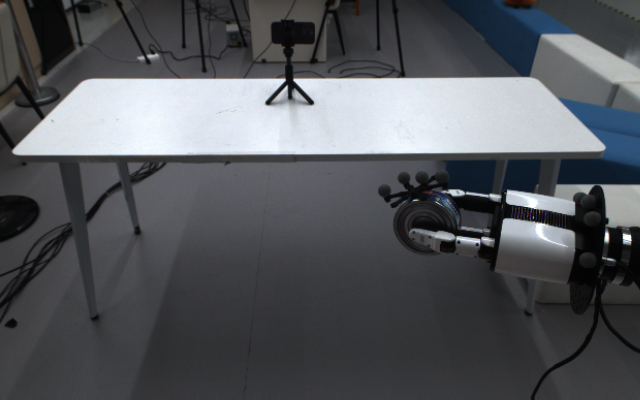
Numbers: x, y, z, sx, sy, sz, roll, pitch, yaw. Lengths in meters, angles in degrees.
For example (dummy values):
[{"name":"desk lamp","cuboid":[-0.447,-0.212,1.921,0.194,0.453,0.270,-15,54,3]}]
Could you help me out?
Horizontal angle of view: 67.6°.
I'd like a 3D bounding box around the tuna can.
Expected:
[{"name":"tuna can","cuboid":[0.146,0.036,0.644,0.085,0.085,0.034,15,30,17]}]
